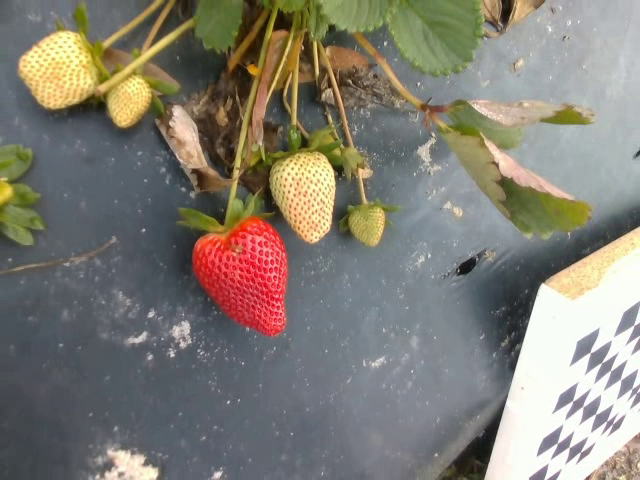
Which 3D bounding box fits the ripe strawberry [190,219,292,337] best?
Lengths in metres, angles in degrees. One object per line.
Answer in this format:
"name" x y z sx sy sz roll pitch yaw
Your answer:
"ripe strawberry" -0.031 0.016 0.265 0.050 0.059 0.033 -29 -4 -18
